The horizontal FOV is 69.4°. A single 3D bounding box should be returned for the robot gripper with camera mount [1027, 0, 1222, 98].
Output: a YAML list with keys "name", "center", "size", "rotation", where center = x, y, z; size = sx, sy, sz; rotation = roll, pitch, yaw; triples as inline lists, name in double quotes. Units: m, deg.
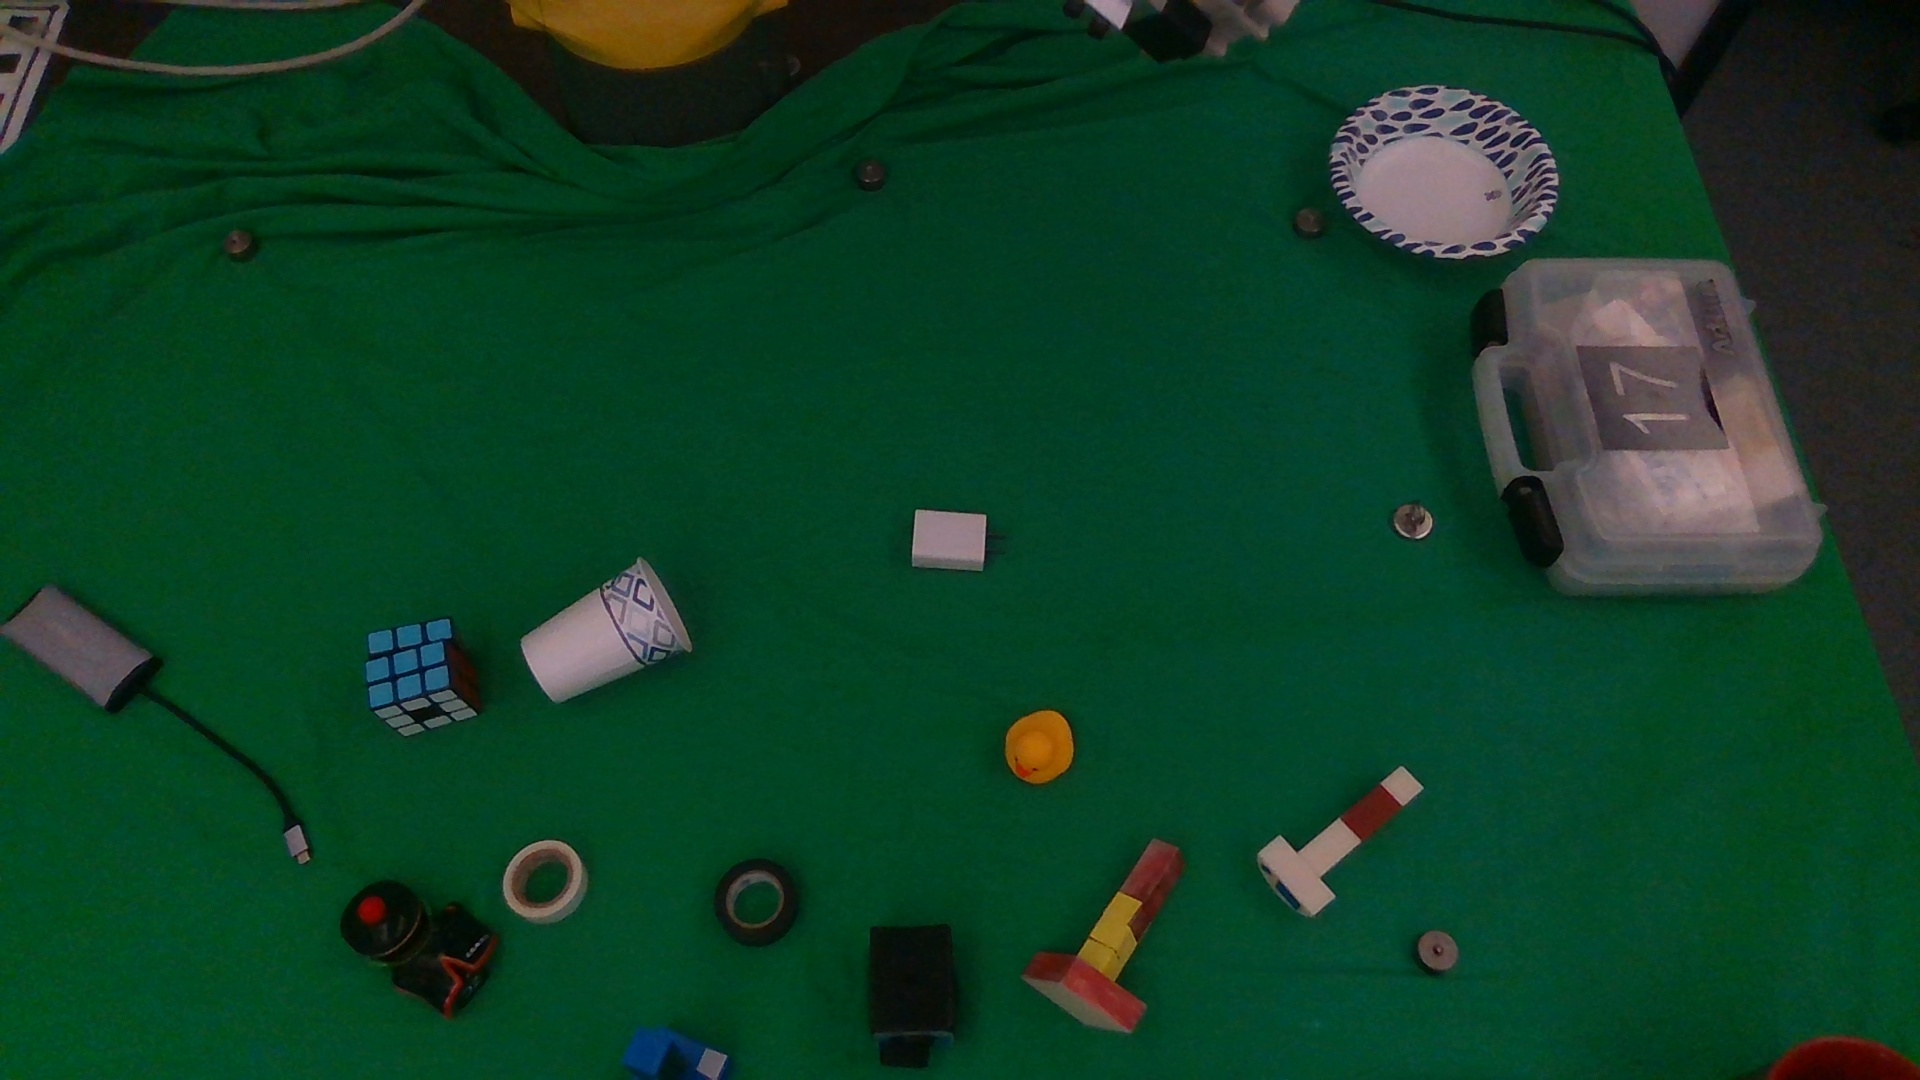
- name: "robot gripper with camera mount"
  center: [0.056, -0.194, 0.324]
  size: [0.158, 0.194, 0.119]
  rotation: [31, 77, -25]

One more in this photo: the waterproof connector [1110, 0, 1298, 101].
- name: "waterproof connector"
  center: [0.076, -0.160, 0.429]
  size: [0.037, 0.065, 0.035]
  rotation: [25, 78, -23]
